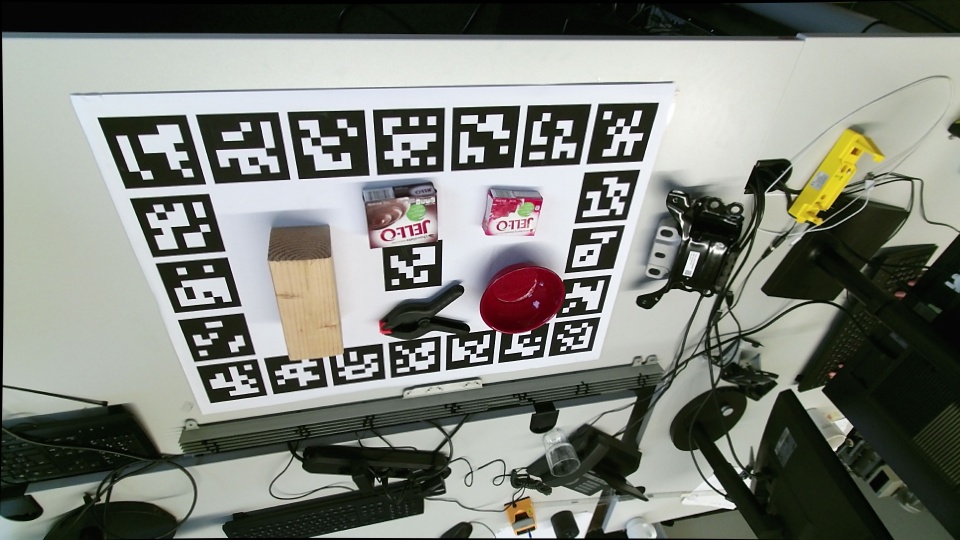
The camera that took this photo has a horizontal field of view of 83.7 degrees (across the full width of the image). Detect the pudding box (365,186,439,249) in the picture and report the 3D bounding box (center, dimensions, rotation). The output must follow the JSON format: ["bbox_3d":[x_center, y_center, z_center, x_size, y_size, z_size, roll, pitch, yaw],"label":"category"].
[{"bbox_3d":[-0.121,-0.083,0.848,0.114,0.038,0.090,-7,123,-14],"label":"pudding box"}]

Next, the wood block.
[{"bbox_3d":[-0.277,0.040,0.859,0.090,0.090,0.206,-2,126,-14],"label":"wood block"}]

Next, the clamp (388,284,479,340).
[{"bbox_3d":[-0.089,0.091,0.996,0.166,0.036,0.122,-13,128,-5],"label":"clamp"}]

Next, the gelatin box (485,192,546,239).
[{"bbox_3d":[0.059,-0.090,0.899,0.090,0.030,0.073,2,123,-18],"label":"gelatin box"}]

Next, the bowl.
[{"bbox_3d":[0.074,0.049,1.000,0.162,0.055,0.161,-7,124,-10],"label":"bowl"}]
